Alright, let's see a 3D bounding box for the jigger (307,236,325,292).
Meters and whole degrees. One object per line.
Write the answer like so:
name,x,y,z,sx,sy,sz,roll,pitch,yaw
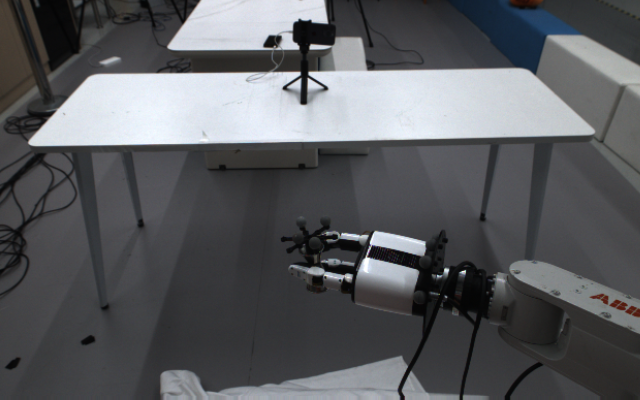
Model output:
jigger,-0.005,0.100,0.746,0.043,0.071,0.043,-11,23,5
